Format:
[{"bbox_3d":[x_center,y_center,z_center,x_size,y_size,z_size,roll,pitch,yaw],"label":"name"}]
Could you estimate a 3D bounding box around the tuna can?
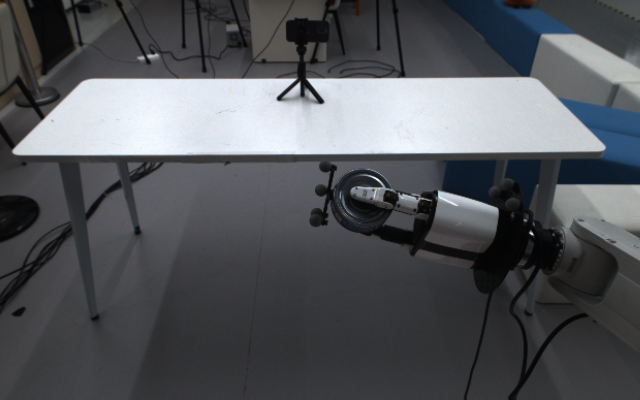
[{"bbox_3d":[0.062,0.003,0.663,0.085,0.034,0.085,2,73,-5],"label":"tuna can"}]
